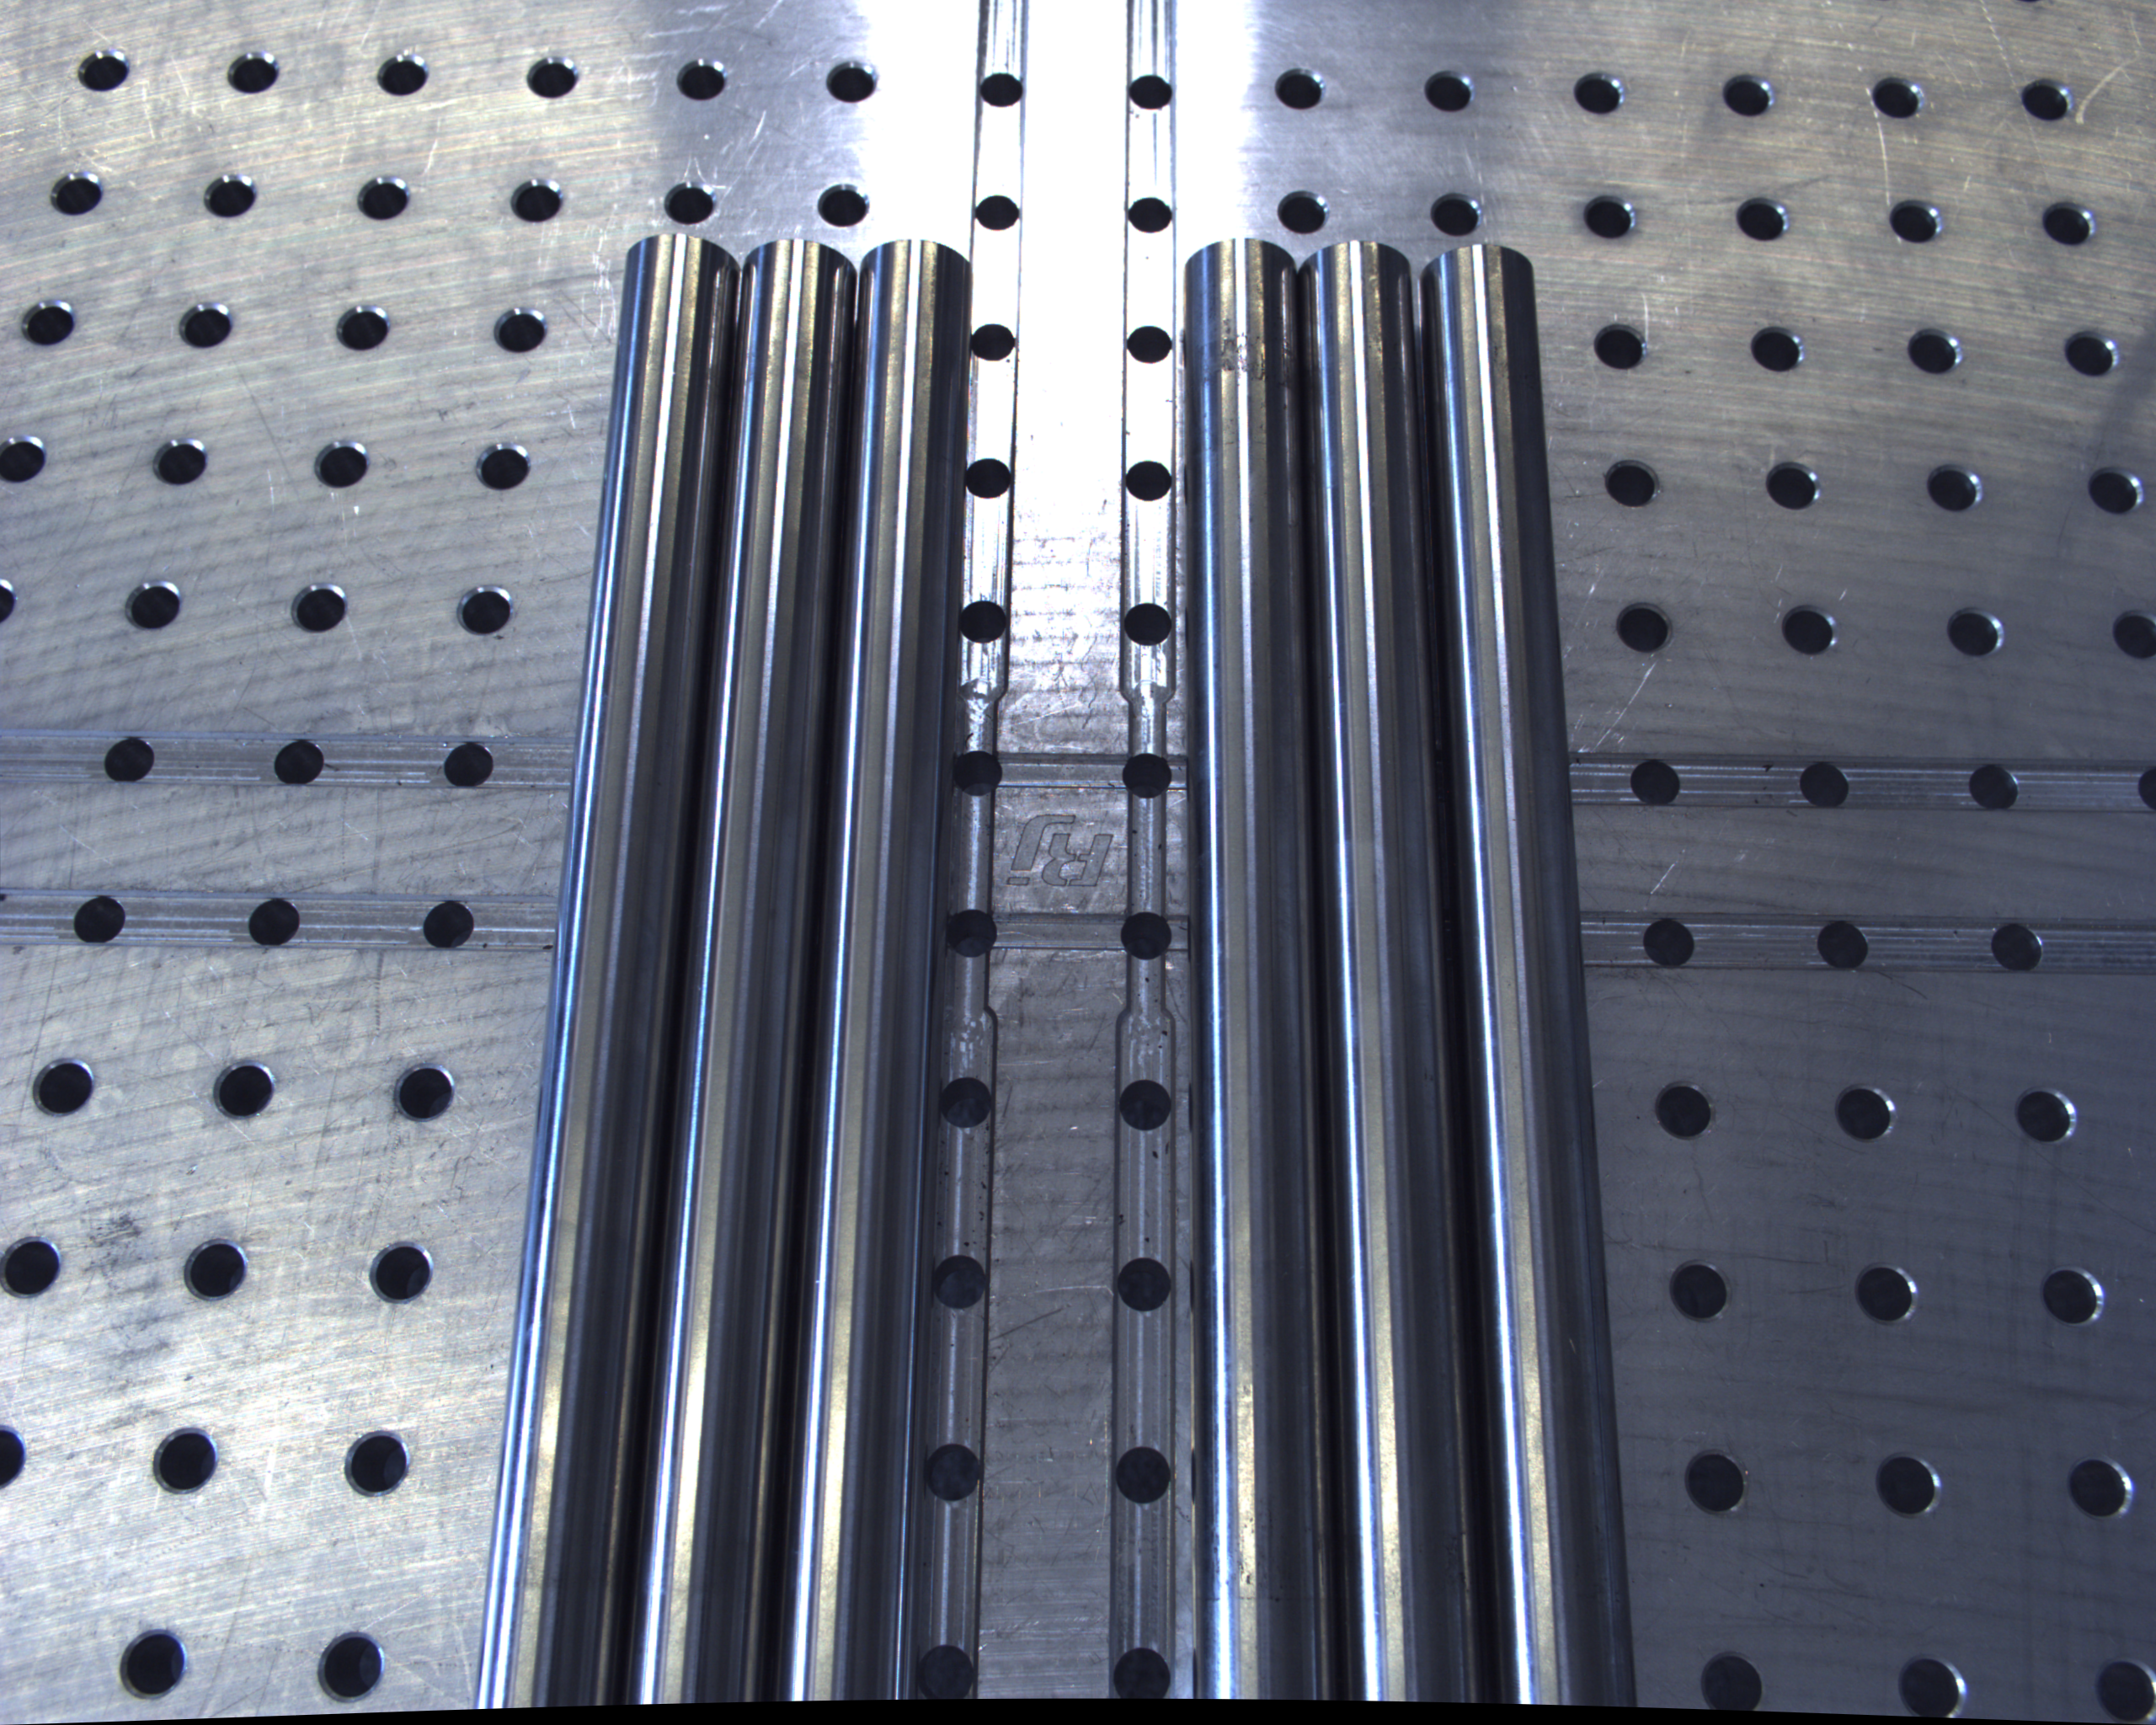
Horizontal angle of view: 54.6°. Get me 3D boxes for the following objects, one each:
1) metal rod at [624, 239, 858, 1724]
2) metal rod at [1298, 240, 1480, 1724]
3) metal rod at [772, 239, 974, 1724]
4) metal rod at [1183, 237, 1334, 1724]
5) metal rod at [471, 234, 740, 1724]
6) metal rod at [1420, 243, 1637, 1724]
[{"bbox_3d":[-0.063,0.011,0.407,0.025,0.025,0.299,1,70,0],"label":"metal rod"},{"bbox_3d":[0.058,0.011,0.407,0.025,0.025,0.299,1,70,0],"label":"metal rod"},{"bbox_3d":[-0.038,0.011,0.407,0.025,0.025,0.299,1,70,0],"label":"metal rod"},{"bbox_3d":[0.033,0.011,0.407,0.025,0.025,0.299,1,70,0],"label":"metal rod"},{"bbox_3d":[-0.089,0.010,0.407,0.025,0.025,0.299,1,70,0],"label":"metal rod"},{"bbox_3d":[0.085,0.012,0.407,0.025,0.025,0.299,1,70,0],"label":"metal rod"}]
